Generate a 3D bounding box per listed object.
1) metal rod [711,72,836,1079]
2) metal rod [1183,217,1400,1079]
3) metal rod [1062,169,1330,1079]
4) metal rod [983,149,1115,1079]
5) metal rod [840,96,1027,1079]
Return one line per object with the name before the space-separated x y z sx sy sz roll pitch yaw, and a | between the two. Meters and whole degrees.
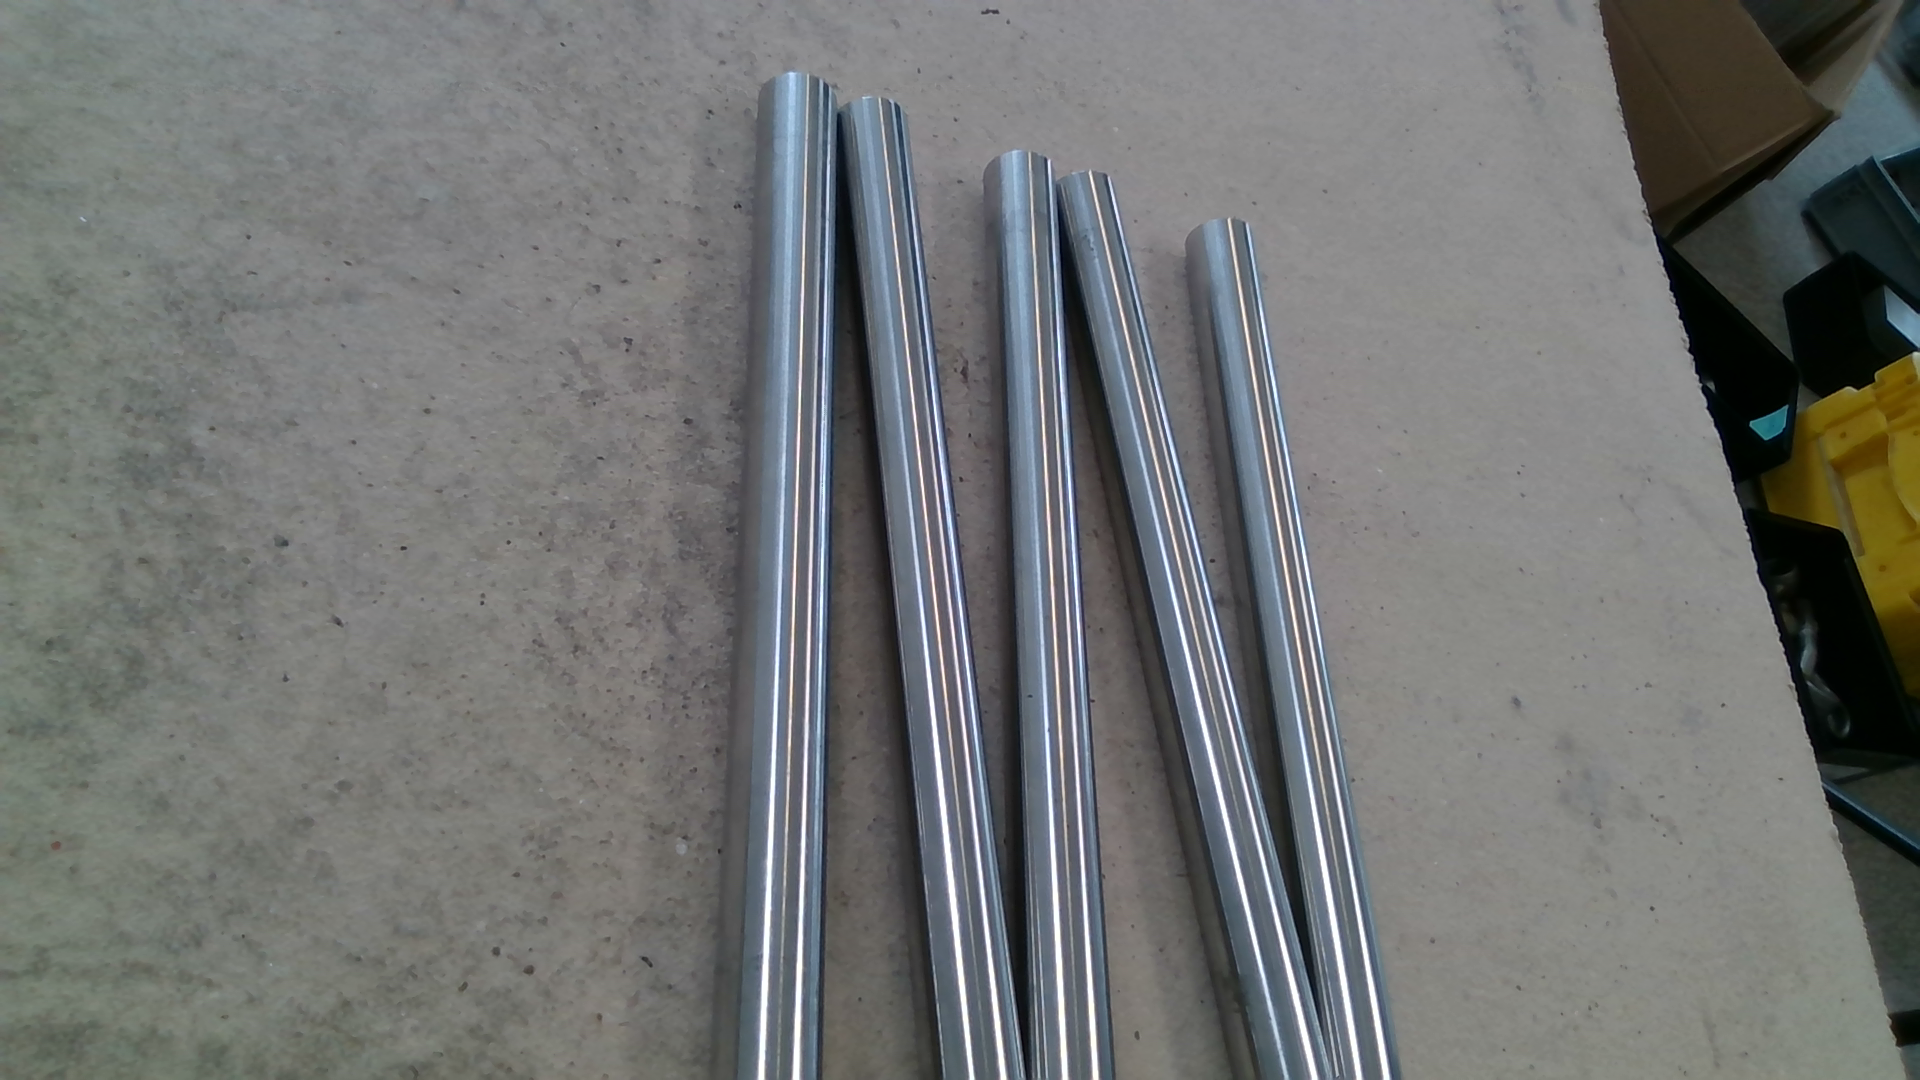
metal rod | -0.047 -0.006 0.368 0.025 0.025 0.299 12 60 -26
metal rod | 0.102 0.021 0.445 0.025 0.025 0.299 12 60 -26
metal rod | 0.064 0.013 0.426 0.025 0.025 0.299 5 63 -30
metal rod | 0.023 0.007 0.404 0.025 0.025 0.299 13 59 -25
metal rod | -0.013 0.000 0.386 0.025 0.025 0.299 7 62 -28
